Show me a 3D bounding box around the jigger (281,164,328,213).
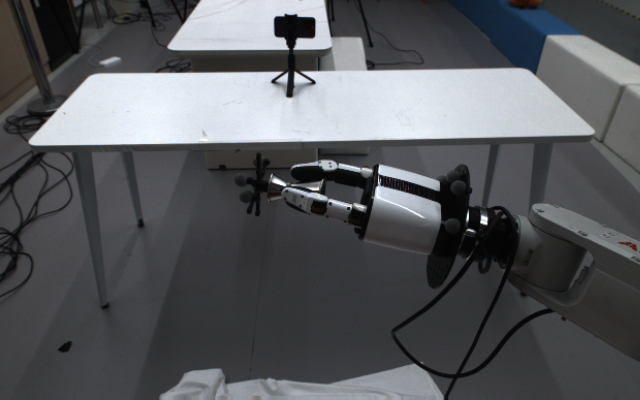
[{"bbox_3d":[-0.022,-0.017,0.623,0.071,0.043,0.043,7,35,7],"label":"jigger"}]
